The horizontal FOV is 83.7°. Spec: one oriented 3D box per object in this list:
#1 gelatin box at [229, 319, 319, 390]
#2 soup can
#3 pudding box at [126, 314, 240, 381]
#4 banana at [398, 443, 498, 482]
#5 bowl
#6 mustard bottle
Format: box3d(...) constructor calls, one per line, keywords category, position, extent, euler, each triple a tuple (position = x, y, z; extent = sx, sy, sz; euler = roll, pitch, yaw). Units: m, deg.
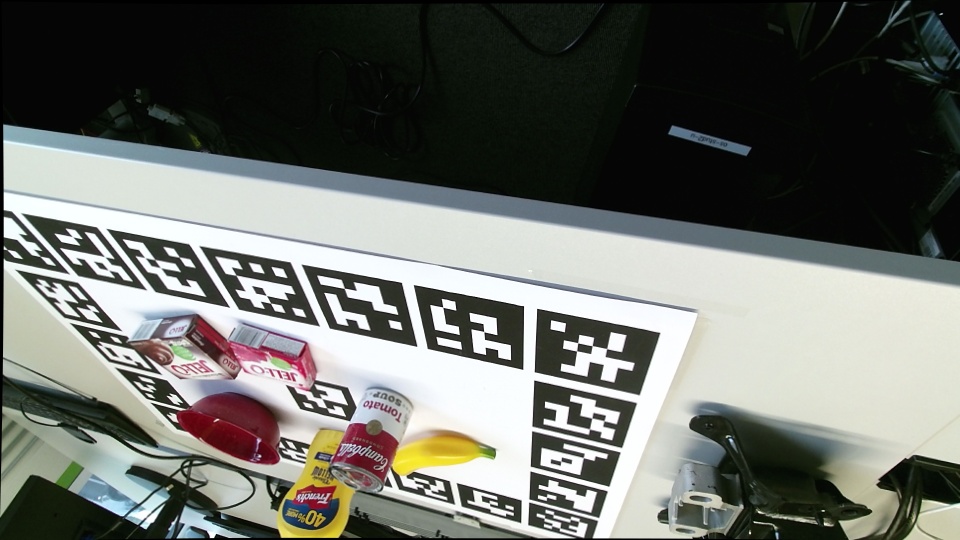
box3d(category="gelatin box", position=(-0.240, 0.101, 0.629), extent=(0.089, 0.030, 0.073), euler=(14, 136, 7))
box3d(category="soup can", position=(-0.121, 0.210, 0.630), extent=(0.068, 0.101, 0.068), euler=(13, 140, 11))
box3d(category="pudding box", position=(-0.371, 0.101, 0.677), extent=(0.114, 0.038, 0.090), euler=(-9, 126, 30))
box3d(category="banana", position=(-0.064, 0.265, 0.729), extent=(0.074, 0.038, 0.197), euler=(30, 140, -26))
box3d(category="bowl", position=(-0.370, 0.233, 0.812), extent=(0.162, 0.055, 0.162), euler=(11, 139, 10))
box3d(category="mustard bottle", position=(-0.228, 0.331, 0.735), extent=(0.096, 0.190, 0.058), euler=(10, 141, 13))
